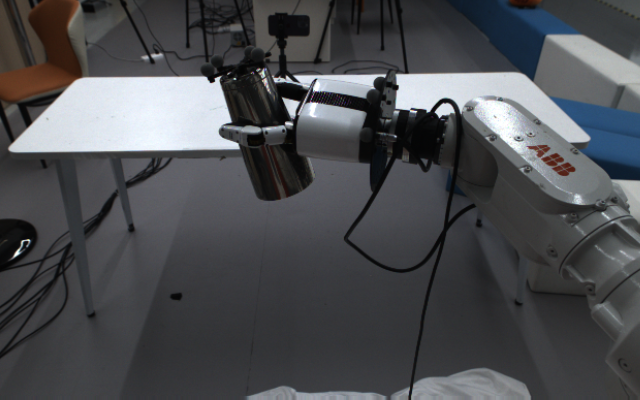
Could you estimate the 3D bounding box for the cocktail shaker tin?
[{"bbox_3d":[-0.076,-0.095,0.664,0.093,0.170,0.093,-15,28,8],"label":"cocktail shaker tin"}]
